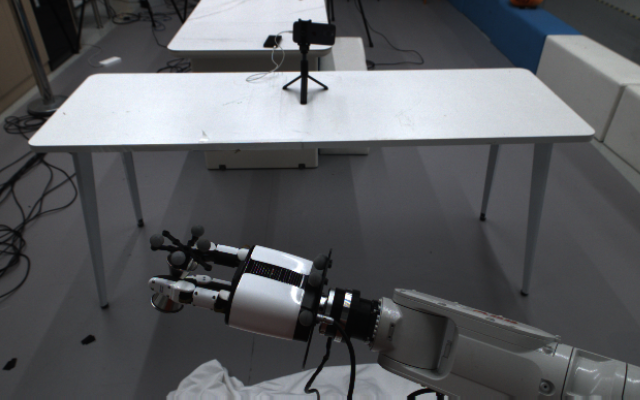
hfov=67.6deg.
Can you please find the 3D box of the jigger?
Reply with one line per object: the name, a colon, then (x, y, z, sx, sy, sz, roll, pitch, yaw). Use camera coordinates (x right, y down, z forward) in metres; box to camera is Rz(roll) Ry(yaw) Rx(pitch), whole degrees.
jigger: (-0.189, 0.107, 0.630, 0.043, 0.071, 0.043, 22, 20, -8)
